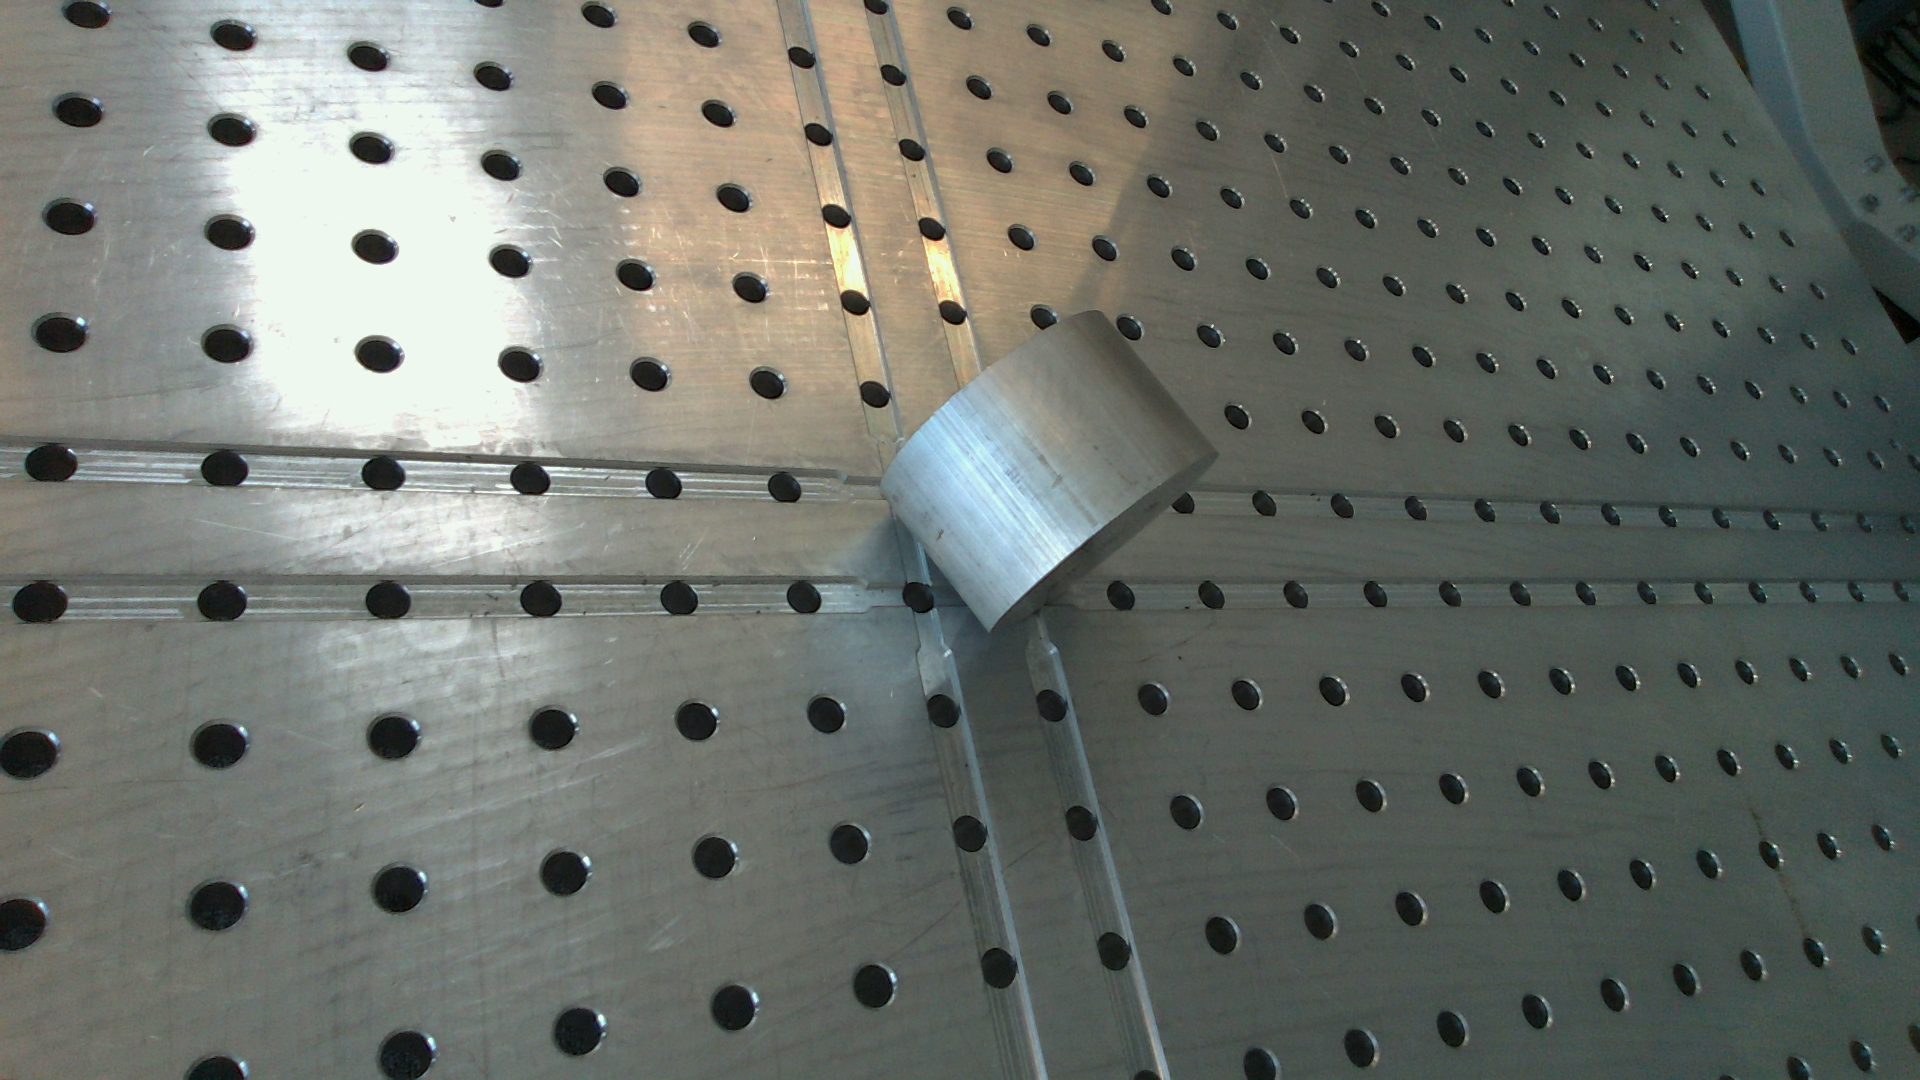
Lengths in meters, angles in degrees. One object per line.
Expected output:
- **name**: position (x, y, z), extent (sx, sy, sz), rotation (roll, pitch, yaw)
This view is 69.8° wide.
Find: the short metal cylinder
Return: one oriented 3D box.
- **short metal cylinder**: position (0.024, -0.019, 0.381), extent (0.080, 0.080, 0.050), rotation (-32, 78, -38)
